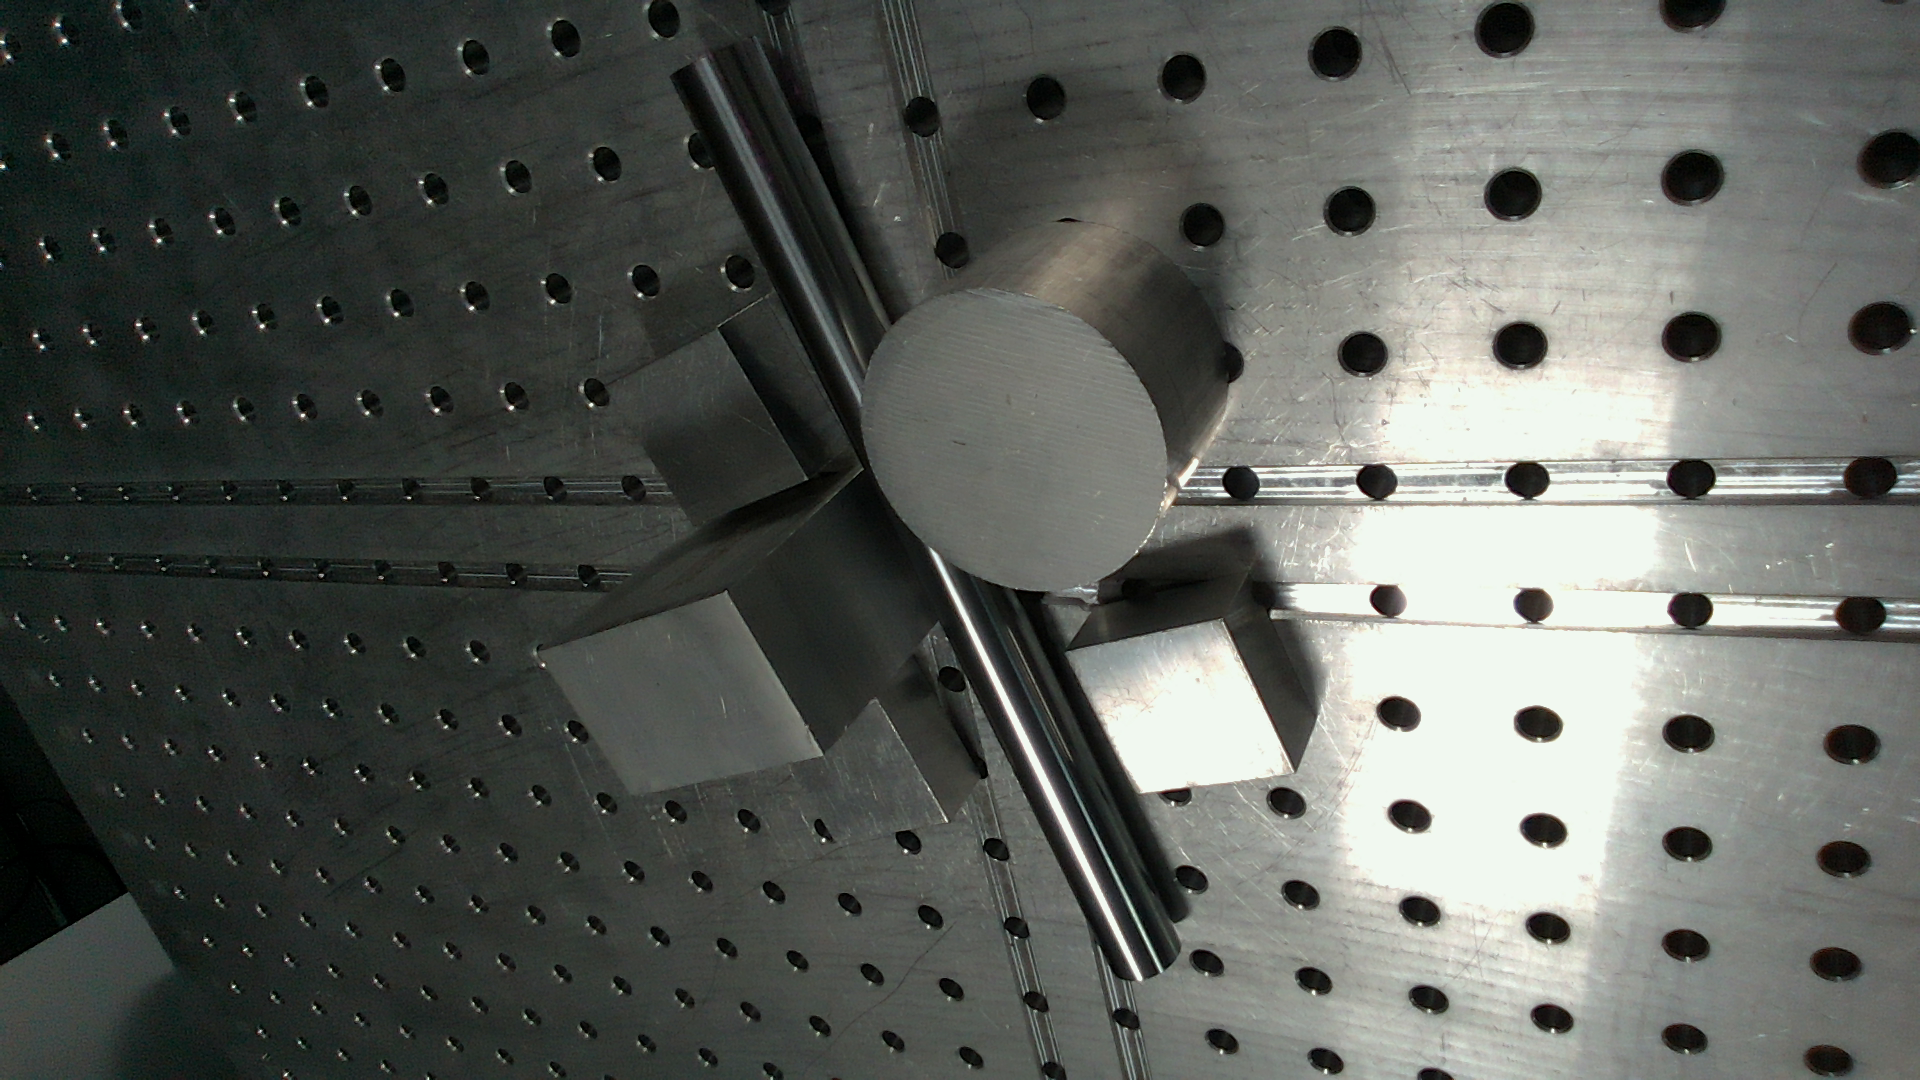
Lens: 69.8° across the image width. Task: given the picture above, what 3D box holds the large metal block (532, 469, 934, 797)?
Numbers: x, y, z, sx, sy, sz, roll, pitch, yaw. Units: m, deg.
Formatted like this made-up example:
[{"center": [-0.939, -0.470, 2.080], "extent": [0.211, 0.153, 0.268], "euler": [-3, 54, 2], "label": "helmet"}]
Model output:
[{"center": [-0.063, 0.027, 0.409], "extent": [0.080, 0.080, 0.050], "euler": [-17, 110, 35], "label": "large metal block"}]

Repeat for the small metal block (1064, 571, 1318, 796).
[{"center": [0.065, 0.041, 0.386], "extent": [0.050, 0.025, 0.050], "euler": [-16, 110, 34], "label": "small metal block"}]

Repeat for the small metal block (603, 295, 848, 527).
[{"center": [-0.070, -0.038, 0.410], "extent": [0.050, 0.025, 0.050], "euler": [-19, 109, 35], "label": "small metal block"}]

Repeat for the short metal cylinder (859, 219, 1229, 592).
[{"center": [0.022, -0.034, 0.346], "extent": [0.080, 0.050, 0.080], "euler": [13, 124, 21], "label": "short metal cylinder"}]

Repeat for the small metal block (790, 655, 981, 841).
[{"center": [-0.029, 0.069, 0.454], "extent": [0.050, 0.025, 0.050], "euler": [-17, 110, 35], "label": "small metal block"}]

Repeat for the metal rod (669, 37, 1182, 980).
[{"center": [-0.002, 0.005, 0.399], "extent": [0.025, 0.025, 0.300], "euler": [-13, 112, 34], "label": "metal rod"}]
